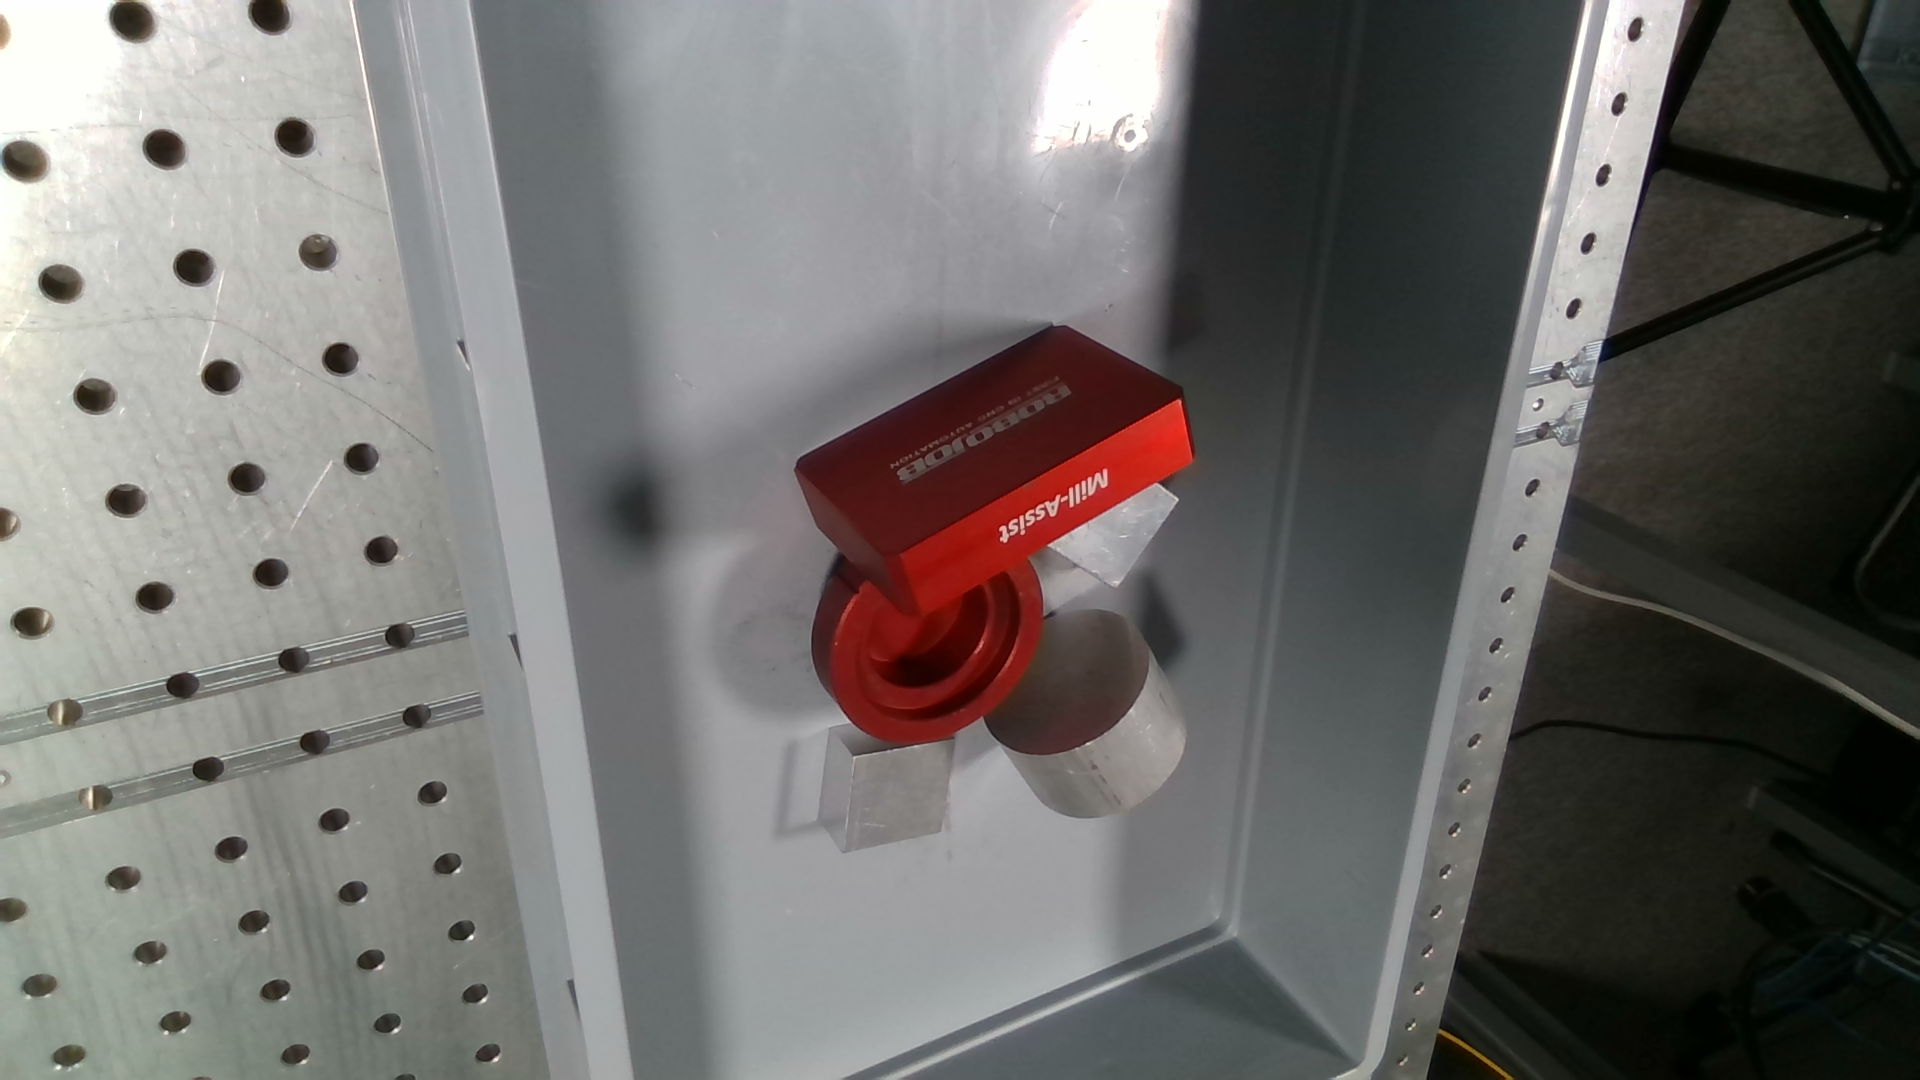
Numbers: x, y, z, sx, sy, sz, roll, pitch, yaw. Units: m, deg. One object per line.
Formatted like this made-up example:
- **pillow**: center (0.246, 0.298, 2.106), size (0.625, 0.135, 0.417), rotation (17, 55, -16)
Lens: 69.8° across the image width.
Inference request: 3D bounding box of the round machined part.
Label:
- **round machined part**: center (-0.017, 0.033, 0.574), size (0.098, 0.042, 0.098), rotation (-14, 122, -25)

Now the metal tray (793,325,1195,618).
- **metal tray**: center (0.012, -0.031, 0.528), size (0.130, 0.090, 0.030), rotation (-29, 126, -15)

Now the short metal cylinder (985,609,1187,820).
- **short metal cylinder**: center (0.056, 0.078, 0.621), size (0.080, 0.080, 0.050), rotation (-39, 129, -8)

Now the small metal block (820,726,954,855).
- **small metal block**: center (-0.033, 0.108, 0.617), size (0.050, 0.025, 0.050), rotation (-6, 116, -30)

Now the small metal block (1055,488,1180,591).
- **small metal block**: center (0.061, -0.013, 0.609), size (0.050, 0.025, 0.050), rotation (31, 95, -38)
